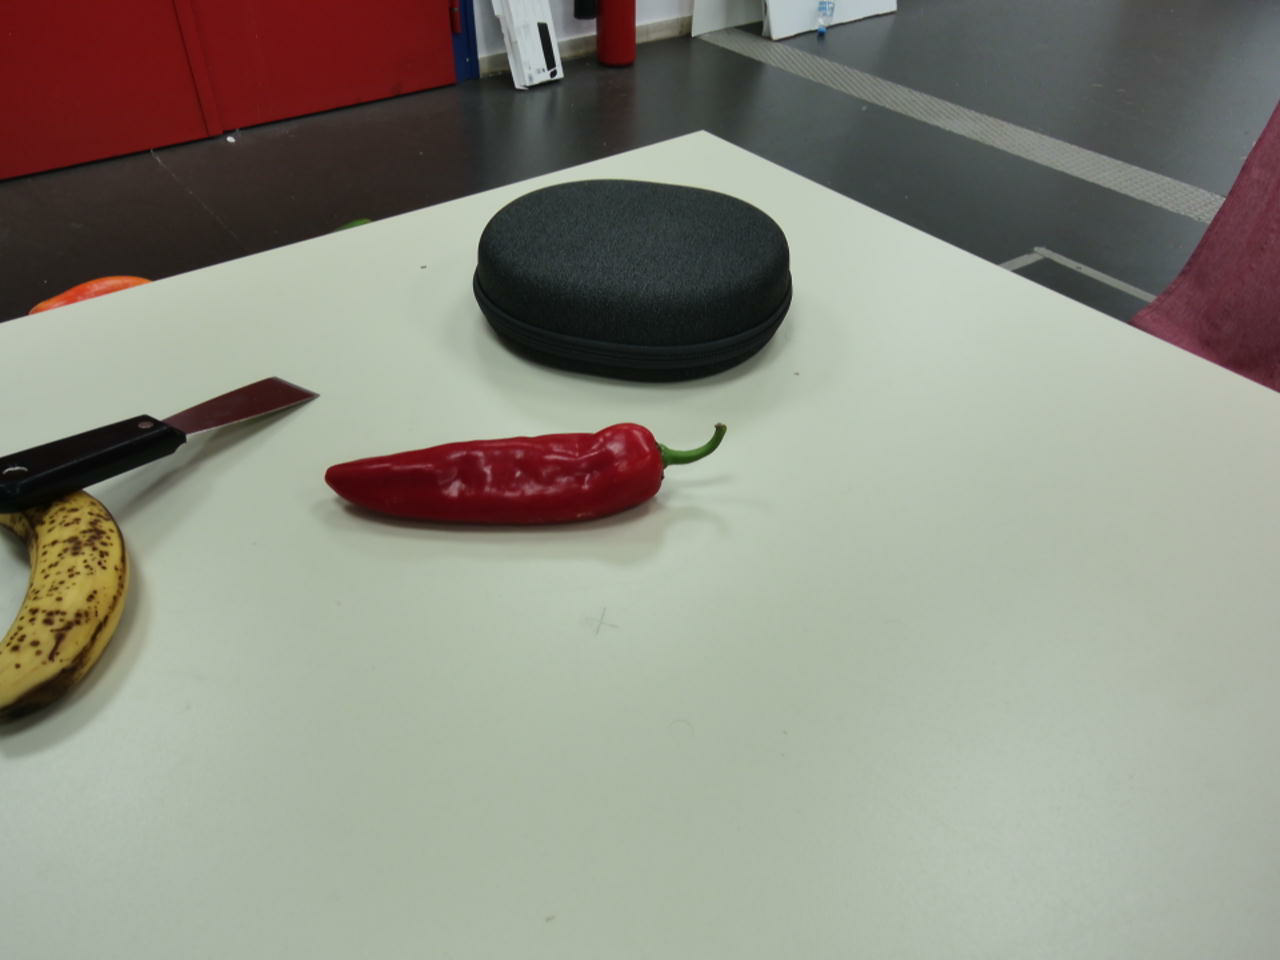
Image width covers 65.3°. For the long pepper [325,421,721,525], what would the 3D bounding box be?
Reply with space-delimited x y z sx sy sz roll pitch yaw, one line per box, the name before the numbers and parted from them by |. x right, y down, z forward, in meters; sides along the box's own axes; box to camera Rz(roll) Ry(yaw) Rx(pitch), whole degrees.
long pepper | -0.060 -0.004 0.526 0.211 0.043 0.050 -4 38 -5
